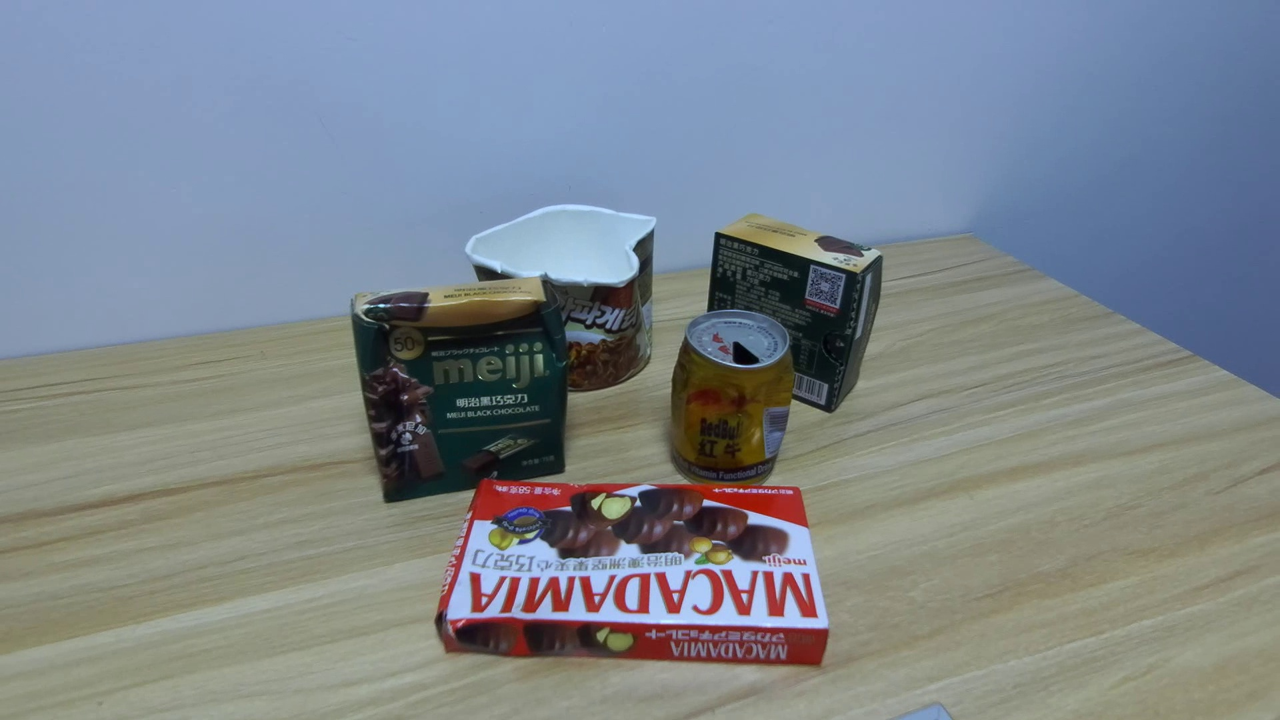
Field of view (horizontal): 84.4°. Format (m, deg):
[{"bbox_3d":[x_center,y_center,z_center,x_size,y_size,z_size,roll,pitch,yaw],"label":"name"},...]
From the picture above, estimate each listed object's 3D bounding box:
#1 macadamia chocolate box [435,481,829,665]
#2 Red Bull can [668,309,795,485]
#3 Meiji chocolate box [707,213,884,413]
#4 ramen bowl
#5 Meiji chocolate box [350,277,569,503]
[{"bbox_3d":[-0.003,0.102,0.360,0.183,0.028,0.105,1,32,1],"label":"macadamia chocolate box"},{"bbox_3d":[0.053,0.024,0.421,0.072,0.092,0.072,2,33,-1],"label":"Red Bull can"},{"bbox_3d":[0.108,-0.036,0.502,0.113,0.111,0.058,22,37,29],"label":"Meiji chocolate box"},{"bbox_3d":[-0.056,-0.048,0.524,0.134,0.097,0.113,4,35,2],"label":"ramen bowl"},{"bbox_3d":[-0.103,0.014,0.418,0.117,0.117,0.051,-8,26,-15],"label":"Meiji chocolate box"}]
